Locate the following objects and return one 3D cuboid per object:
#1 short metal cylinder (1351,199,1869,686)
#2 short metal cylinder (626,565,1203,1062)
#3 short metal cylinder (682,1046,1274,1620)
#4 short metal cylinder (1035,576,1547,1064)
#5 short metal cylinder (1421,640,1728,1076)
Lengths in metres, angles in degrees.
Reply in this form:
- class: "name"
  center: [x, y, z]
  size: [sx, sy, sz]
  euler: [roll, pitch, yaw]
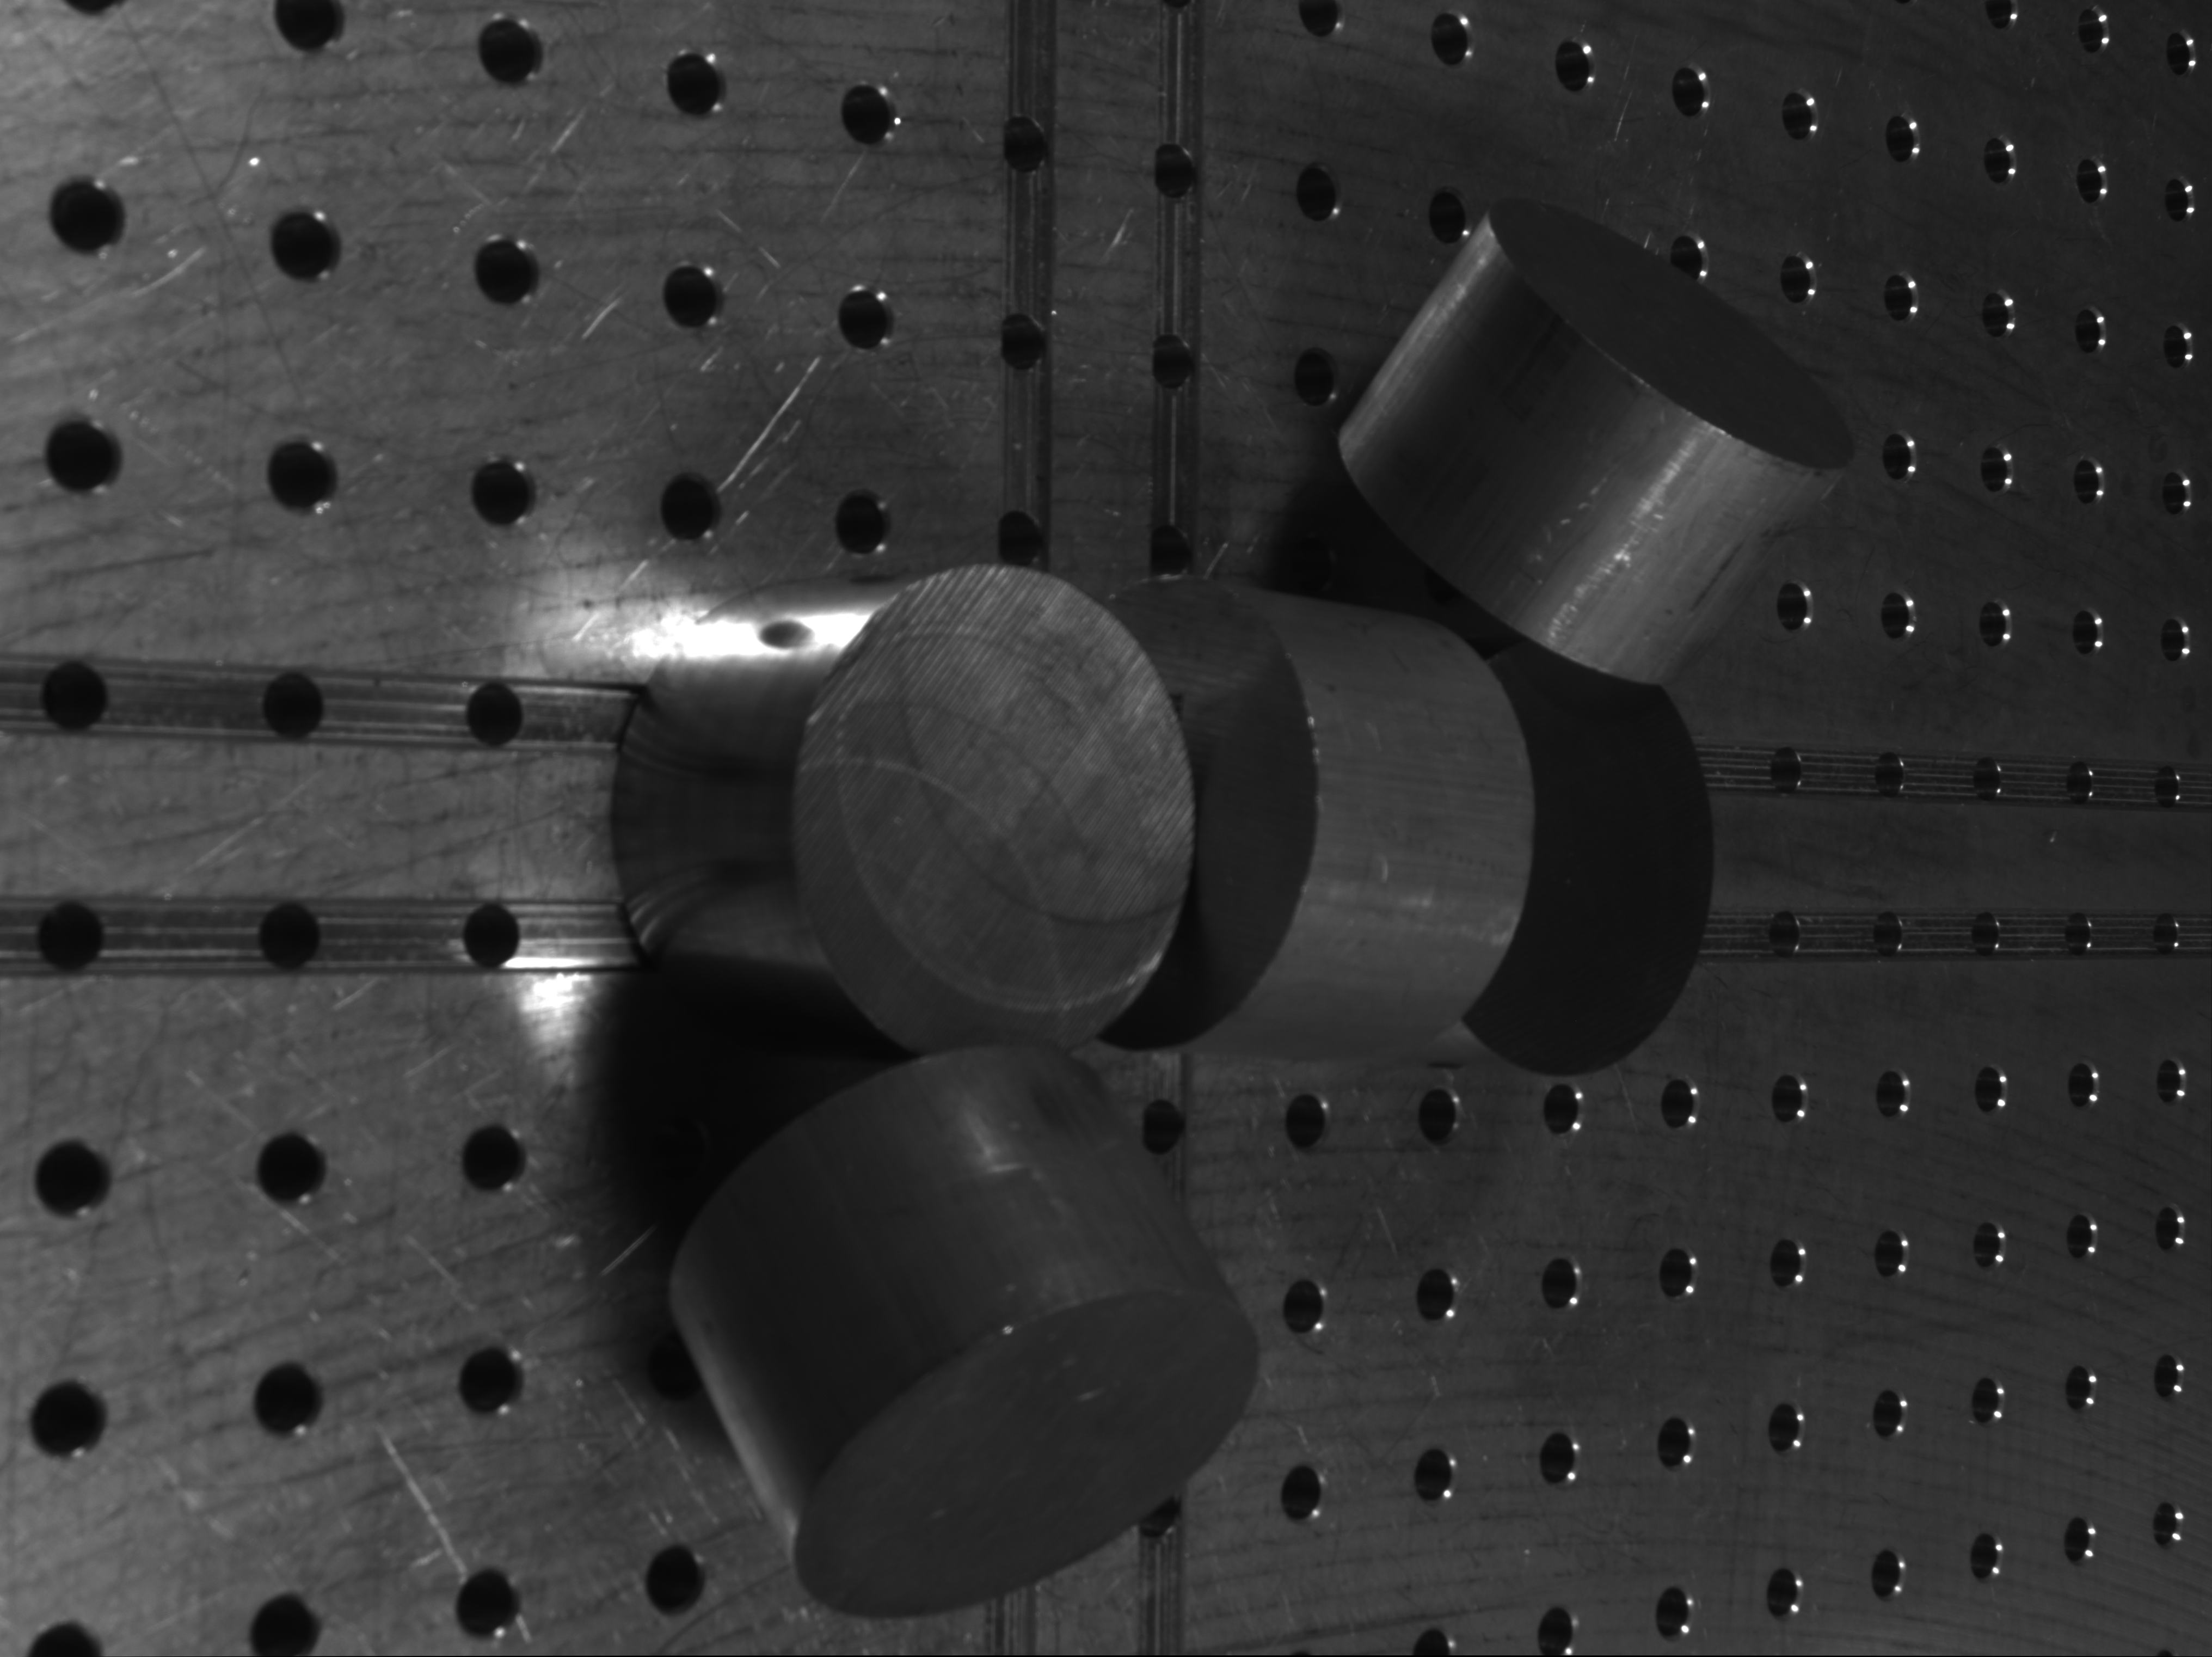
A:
- class: "short metal cylinder"
  center: [0.092, -0.071, 0.673]
  size: [0.080, 0.080, 0.050]
  euler: [11, 124, -39]
- class: "short metal cylinder"
  center: [-0.031, -0.002, 0.598]
  size: [0.080, 0.050, 0.080]
  euler: [0, 90, -40]
- class: "short metal cylinder"
  center: [-0.020, 0.080, 0.580]
  size: [0.080, 0.050, 0.080]
  euler: [-21, 144, -16]
- class: "short metal cylinder"
  center: [0.029, 0.000, 0.629]
  size: [0.050, 0.080, 0.080]
  euler: [6, 86, -40]
- class: "short metal cylinder"
  center: [0.070, 0.005, 0.682]
  size: [0.080, 0.050, 0.080]
  euler: [0, 90, -40]
